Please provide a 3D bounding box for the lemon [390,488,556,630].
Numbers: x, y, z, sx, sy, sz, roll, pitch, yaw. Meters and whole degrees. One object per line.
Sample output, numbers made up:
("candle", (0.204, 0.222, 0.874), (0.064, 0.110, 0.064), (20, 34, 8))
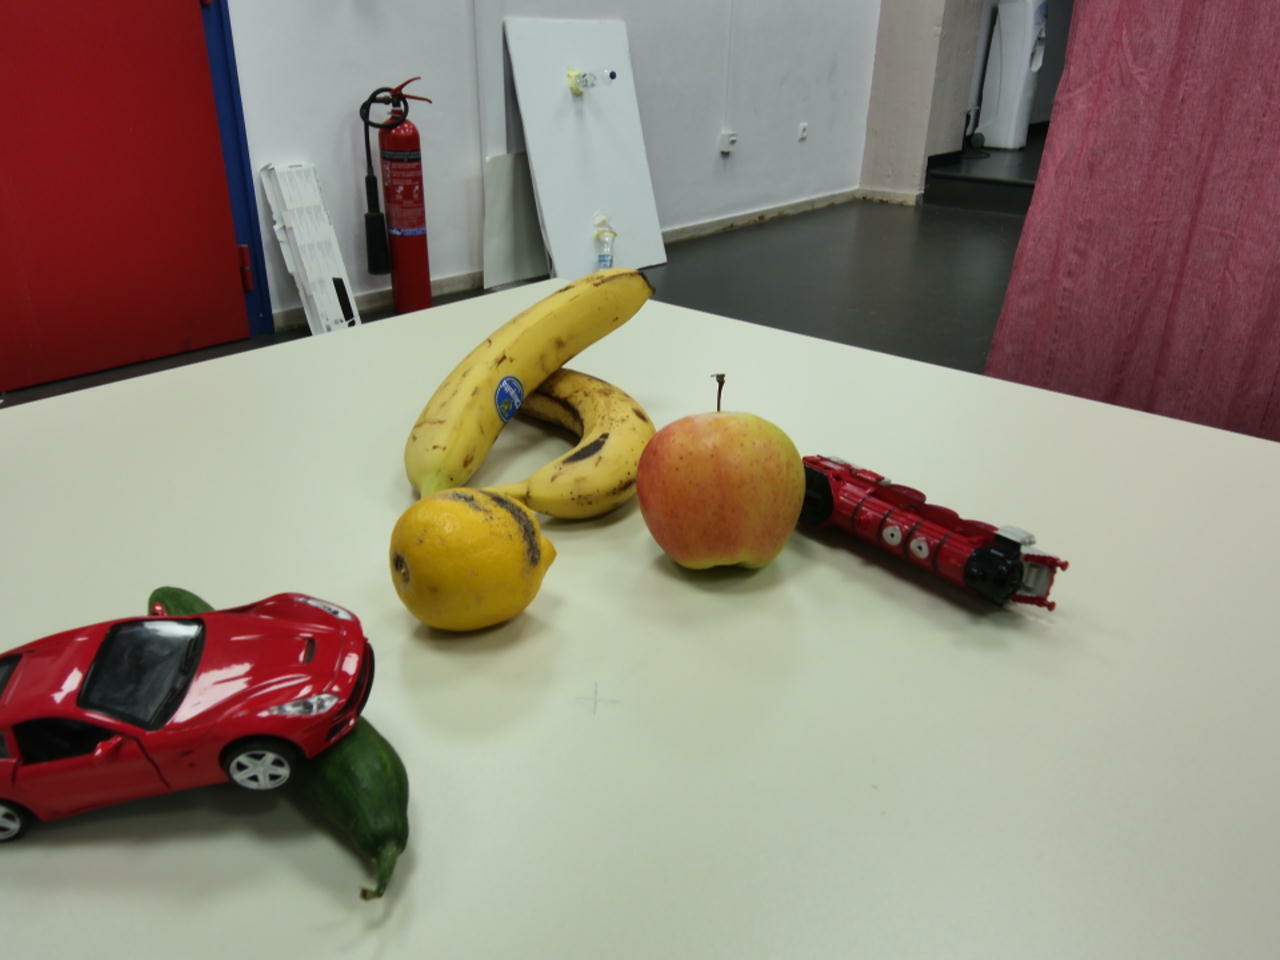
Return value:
("lemon", (-0.068, 0.030, 0.396), (0.058, 0.056, 0.061), (14, 26, 28))
